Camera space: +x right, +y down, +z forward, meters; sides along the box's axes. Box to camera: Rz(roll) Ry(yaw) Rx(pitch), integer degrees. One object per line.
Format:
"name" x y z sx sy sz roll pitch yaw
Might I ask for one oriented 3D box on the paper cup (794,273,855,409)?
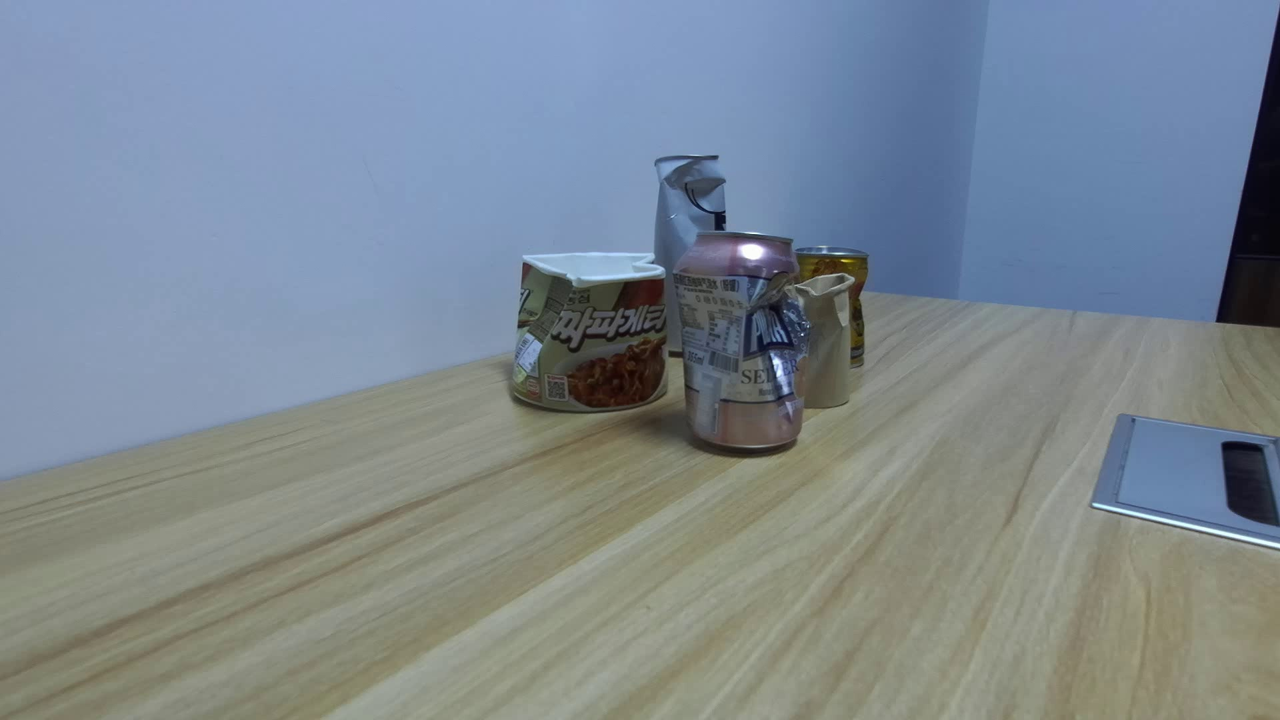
"paper cup" 0.114 -0.014 0.482 0.058 0.083 0.066 1 14 9

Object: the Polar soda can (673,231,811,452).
"Polar soda can" 0.060 -0.012 0.404 0.071 0.121 0.066 -9 12 -38

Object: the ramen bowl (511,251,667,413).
"ramen bowl" -0.035 -0.021 0.491 0.111 0.093 0.128 -1 15 -3

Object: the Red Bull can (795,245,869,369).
"Red Bull can" 0.156 -0.044 0.584 0.072 0.092 0.072 0 16 0

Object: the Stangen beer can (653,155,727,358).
"Stangen beer can" 0.040 -0.088 0.604 0.066 0.166 0.066 -4 10 -17
